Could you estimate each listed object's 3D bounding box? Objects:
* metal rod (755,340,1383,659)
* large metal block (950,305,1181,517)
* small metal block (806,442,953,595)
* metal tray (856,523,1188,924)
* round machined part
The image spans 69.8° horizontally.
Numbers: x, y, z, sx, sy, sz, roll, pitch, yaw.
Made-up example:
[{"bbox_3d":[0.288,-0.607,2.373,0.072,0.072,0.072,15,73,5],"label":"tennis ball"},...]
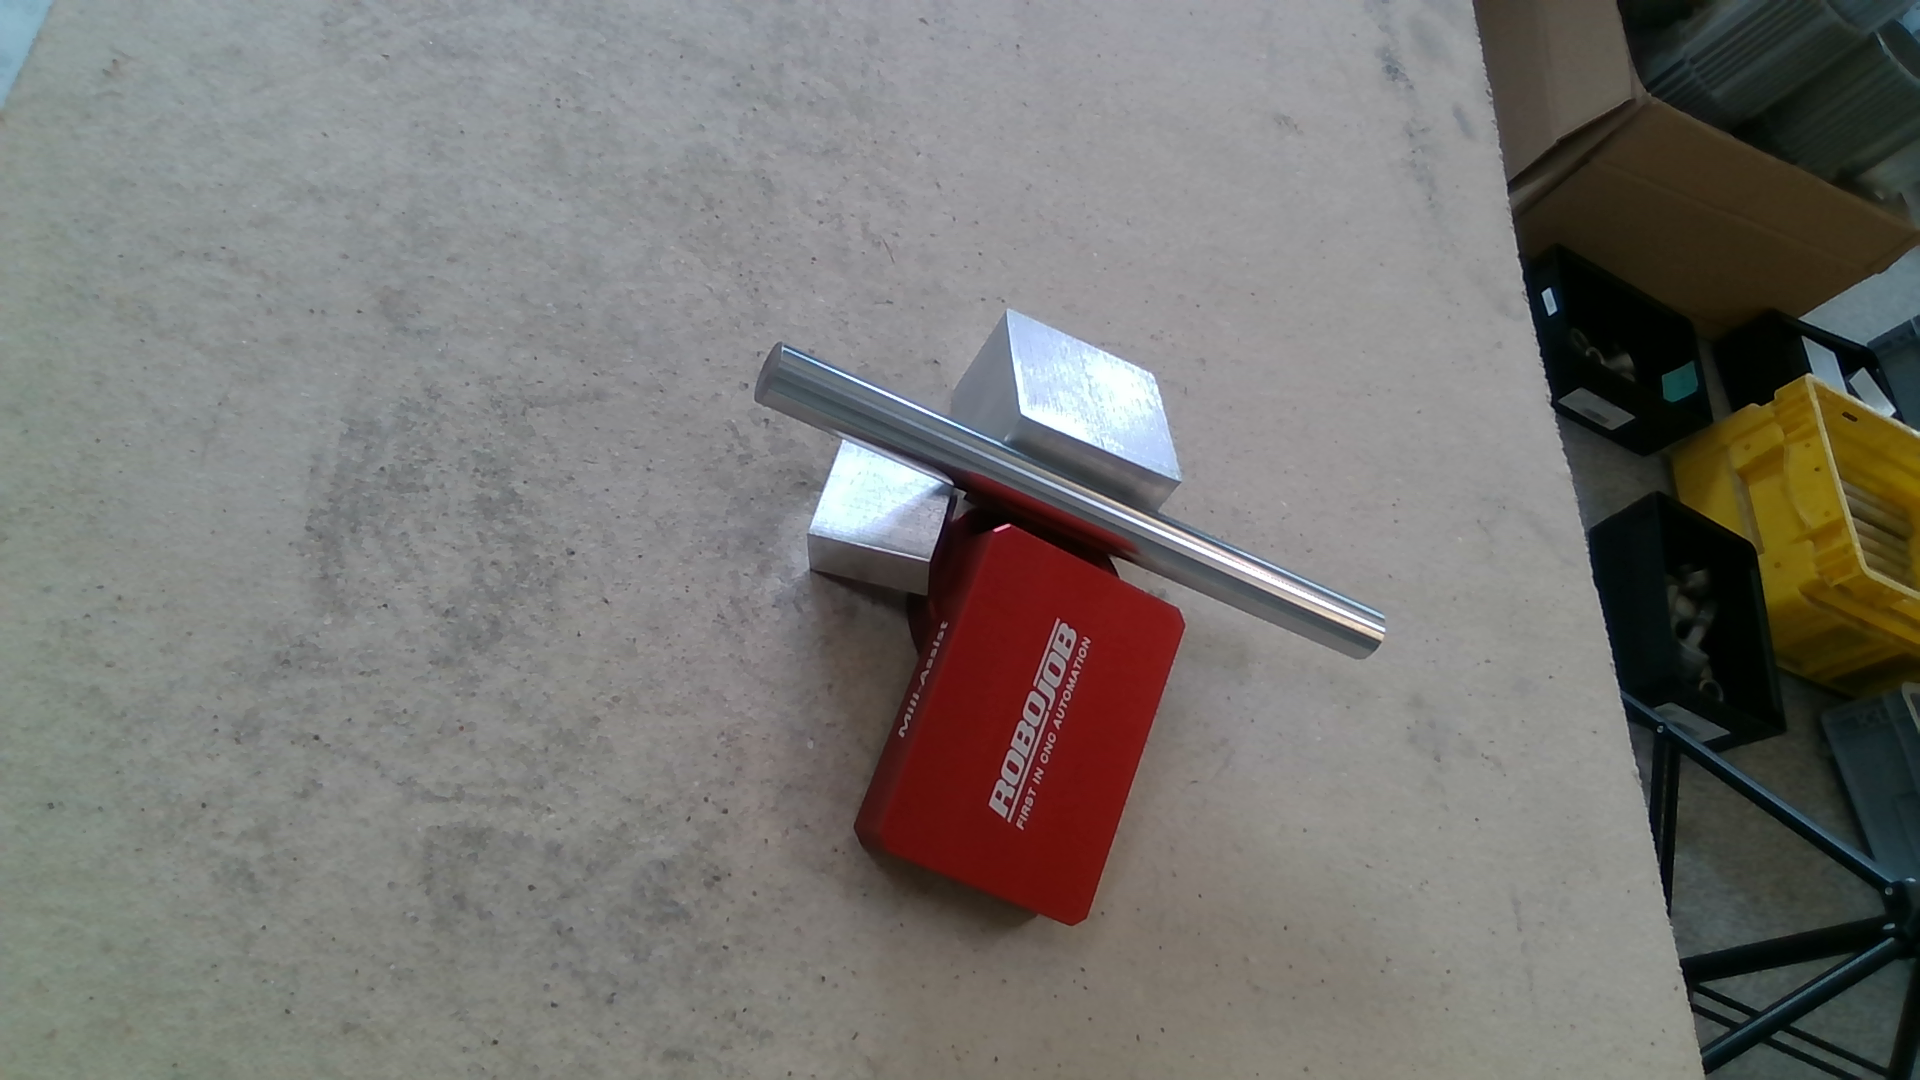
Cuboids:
[{"bbox_3d":[0.056,-0.011,0.573,0.300,0.025,0.025,23,55,-23],"label":"metal rod"},{"bbox_3d":[0.044,-0.048,0.609,0.080,0.050,0.080,21,38,-21],"label":"large metal block"},{"bbox_3d":[-0.031,-0.010,0.560,0.050,0.025,0.050,13,55,5],"label":"small metal block"},{"bbox_3d":[0.026,0.070,0.533,0.090,0.030,0.130,26,75,-17],"label":"metal tray"},{"bbox_3d":[0.030,0.028,0.579,0.098,0.042,0.098,14,59,-25],"label":"round machined part"}]
